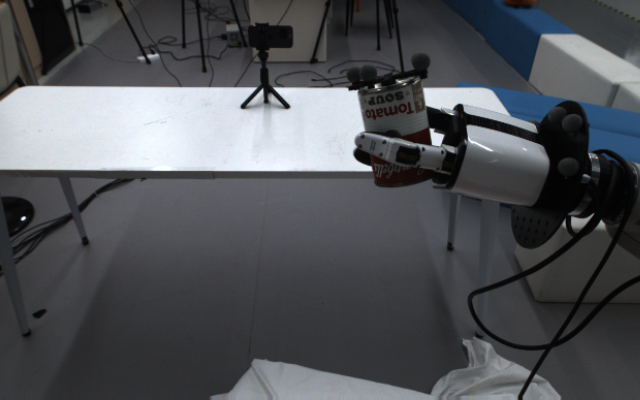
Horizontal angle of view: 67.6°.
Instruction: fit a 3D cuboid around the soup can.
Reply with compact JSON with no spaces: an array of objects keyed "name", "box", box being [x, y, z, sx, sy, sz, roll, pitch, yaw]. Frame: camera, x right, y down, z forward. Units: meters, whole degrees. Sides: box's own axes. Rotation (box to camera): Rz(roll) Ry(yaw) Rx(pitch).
[{"name":"soup can","box":[0.083,-0.073,0.511,0.067,0.101,0.067,-12,17,4]}]
